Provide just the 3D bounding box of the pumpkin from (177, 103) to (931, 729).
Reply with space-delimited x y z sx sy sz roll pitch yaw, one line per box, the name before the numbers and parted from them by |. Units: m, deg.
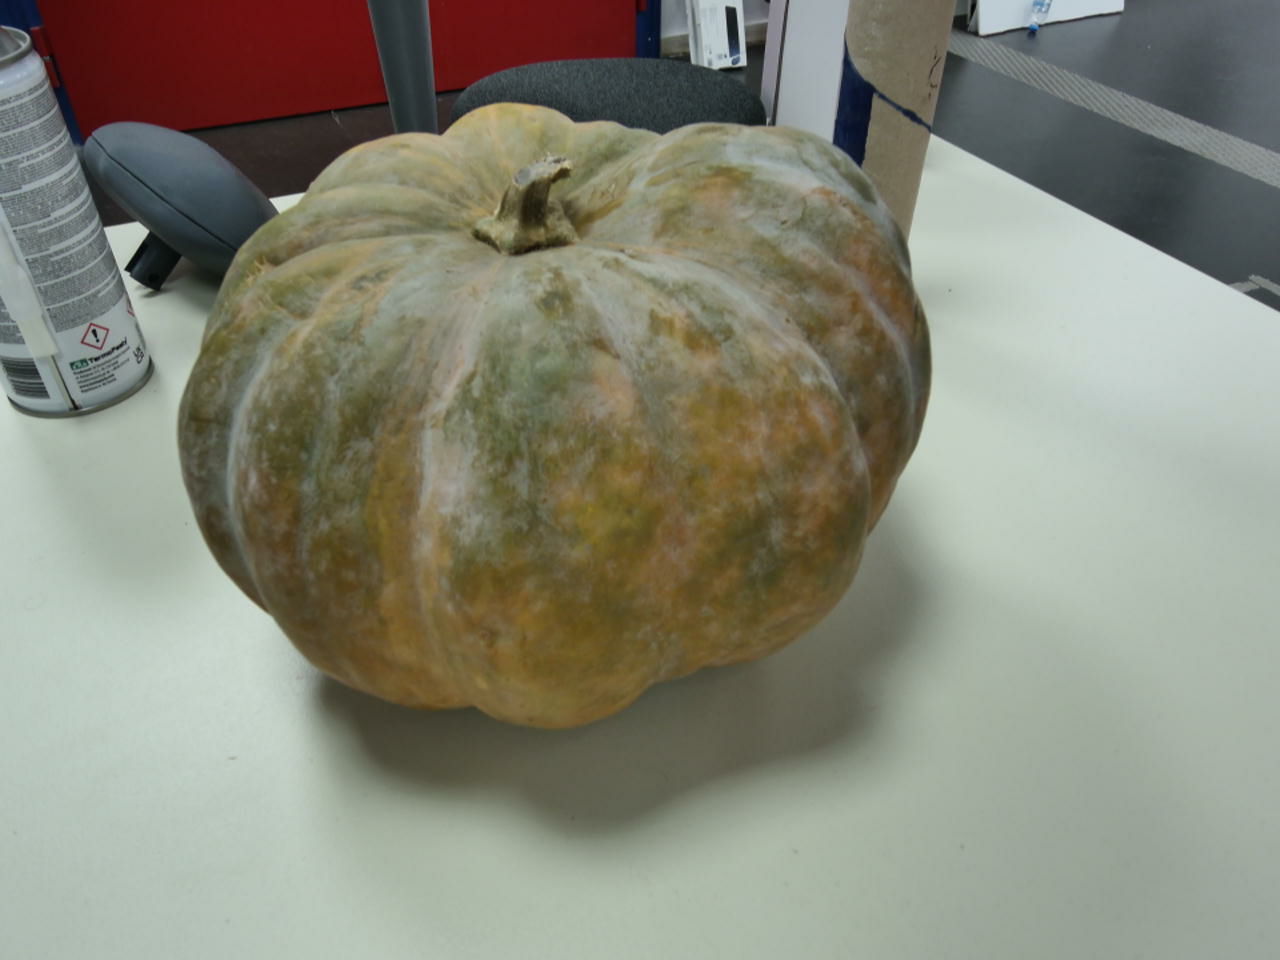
pumpkin | -0.030 -0.031 0.348 0.252 0.169 0.251 0 38 0
